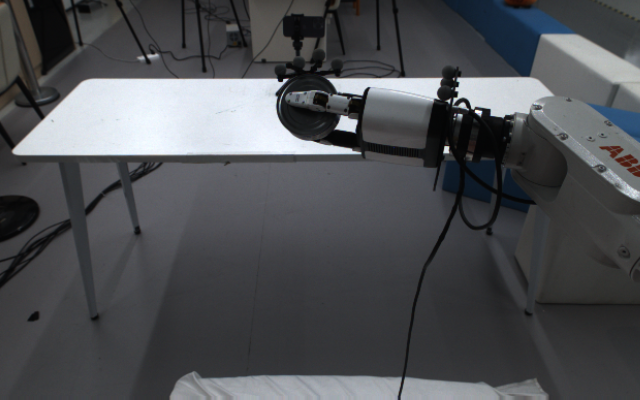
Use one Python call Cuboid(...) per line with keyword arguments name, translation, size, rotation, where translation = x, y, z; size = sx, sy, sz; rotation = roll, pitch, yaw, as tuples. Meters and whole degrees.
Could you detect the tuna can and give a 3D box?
Cuboid(name="tuna can", translation=(-0.012, -0.121, 0.657), size=(0.085, 0.085, 0.034), rotation=(10, -6, 11))
